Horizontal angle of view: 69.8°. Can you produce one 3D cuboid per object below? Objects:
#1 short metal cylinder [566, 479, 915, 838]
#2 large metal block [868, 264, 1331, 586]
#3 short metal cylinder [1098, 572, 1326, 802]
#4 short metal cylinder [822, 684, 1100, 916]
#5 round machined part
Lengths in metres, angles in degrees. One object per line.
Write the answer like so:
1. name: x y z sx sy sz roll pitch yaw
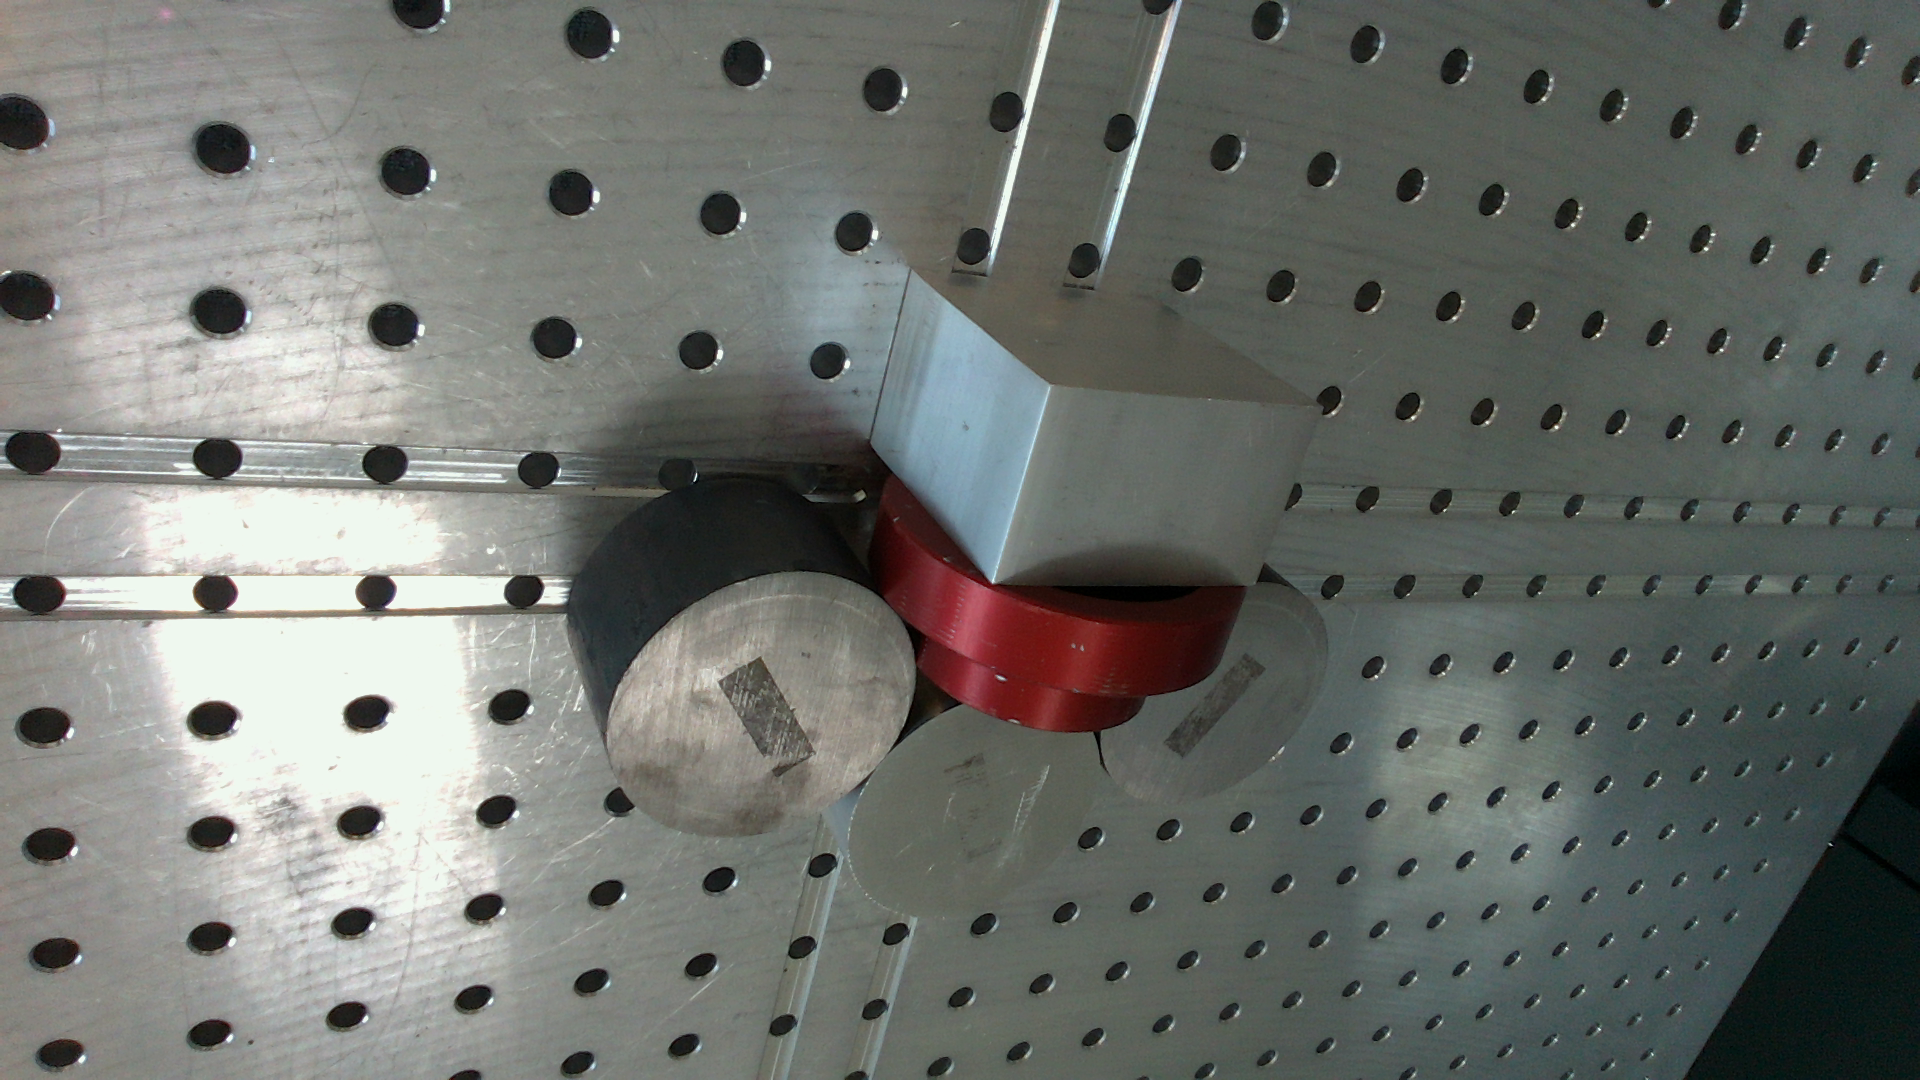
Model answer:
1. short metal cylinder: -0.058 0.031 0.364 0.080 0.050 0.080 -14 124 -21
2. large metal block: 0.032 -0.030 0.355 0.080 0.080 0.050 1 118 -29
3. short metal cylinder: 0.067 0.035 0.434 0.080 0.050 0.080 -14 124 -21
4. short metal cylinder: -0.005 0.065 0.413 0.080 0.050 0.080 -14 124 -21
5. round machined part: 0.023 0.017 0.365 0.098 0.098 0.042 2 117 -29
